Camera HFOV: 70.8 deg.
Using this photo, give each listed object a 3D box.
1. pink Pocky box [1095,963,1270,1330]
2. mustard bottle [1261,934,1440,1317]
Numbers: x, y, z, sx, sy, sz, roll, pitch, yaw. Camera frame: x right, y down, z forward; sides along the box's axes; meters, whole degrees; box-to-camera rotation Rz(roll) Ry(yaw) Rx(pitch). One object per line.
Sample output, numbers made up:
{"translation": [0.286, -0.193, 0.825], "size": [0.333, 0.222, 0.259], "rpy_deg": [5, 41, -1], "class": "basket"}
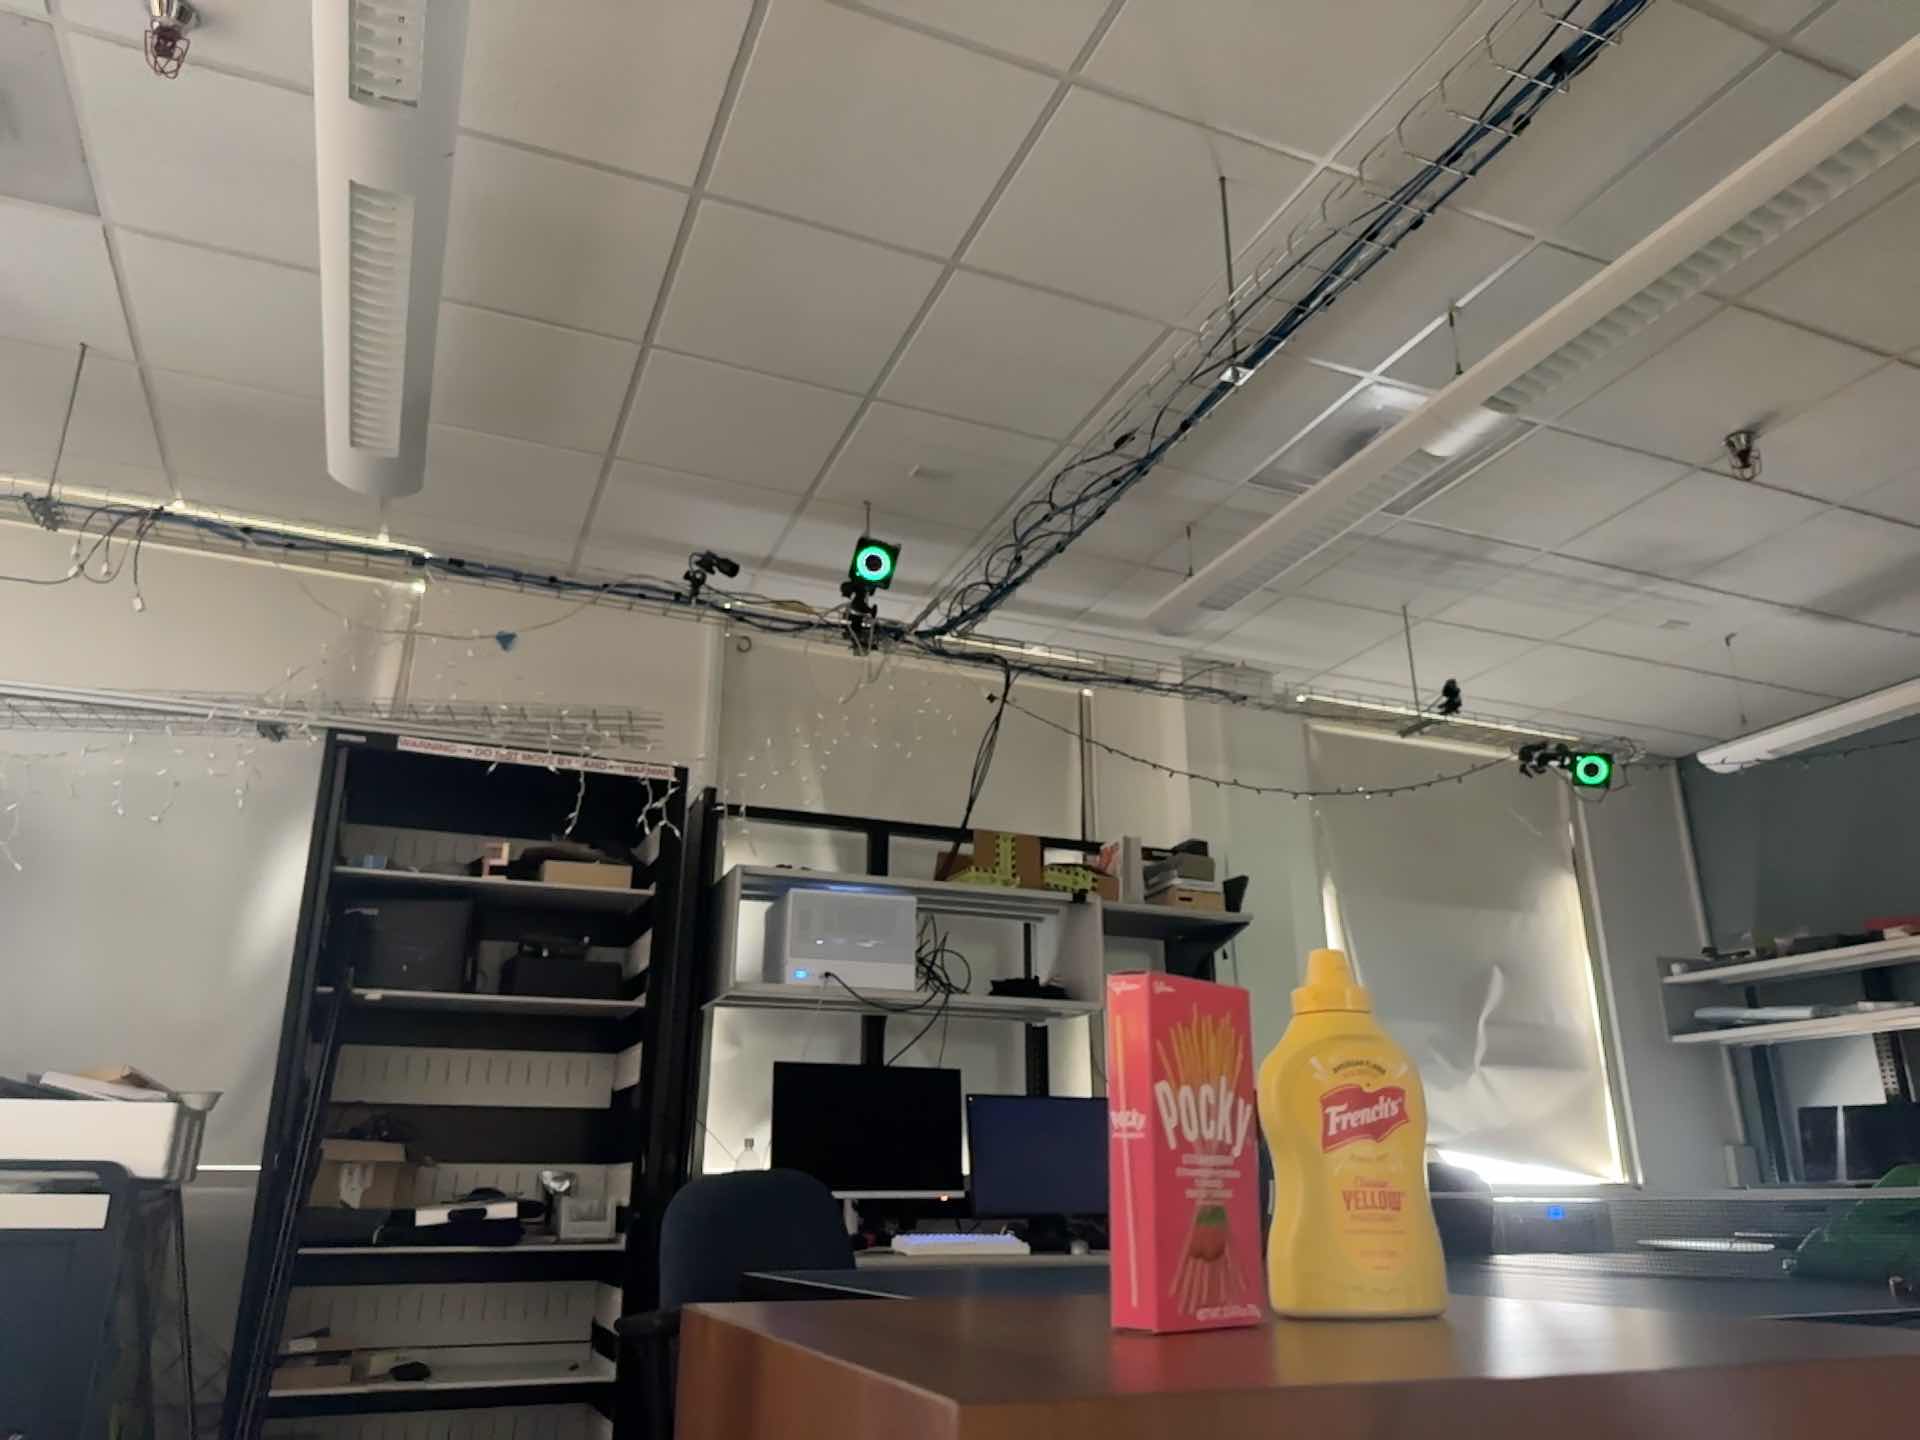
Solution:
{"translation": [0.102, 0.193, 0.620], "size": [0.084, 0.154, 0.029], "rpy_deg": [15, -22, -35], "class": "pink Pocky box"}
{"translation": [0.196, 0.203, 0.692], "size": [0.092, 0.184, 0.054], "rpy_deg": [5, -15, -16], "class": "mustard bottle"}
